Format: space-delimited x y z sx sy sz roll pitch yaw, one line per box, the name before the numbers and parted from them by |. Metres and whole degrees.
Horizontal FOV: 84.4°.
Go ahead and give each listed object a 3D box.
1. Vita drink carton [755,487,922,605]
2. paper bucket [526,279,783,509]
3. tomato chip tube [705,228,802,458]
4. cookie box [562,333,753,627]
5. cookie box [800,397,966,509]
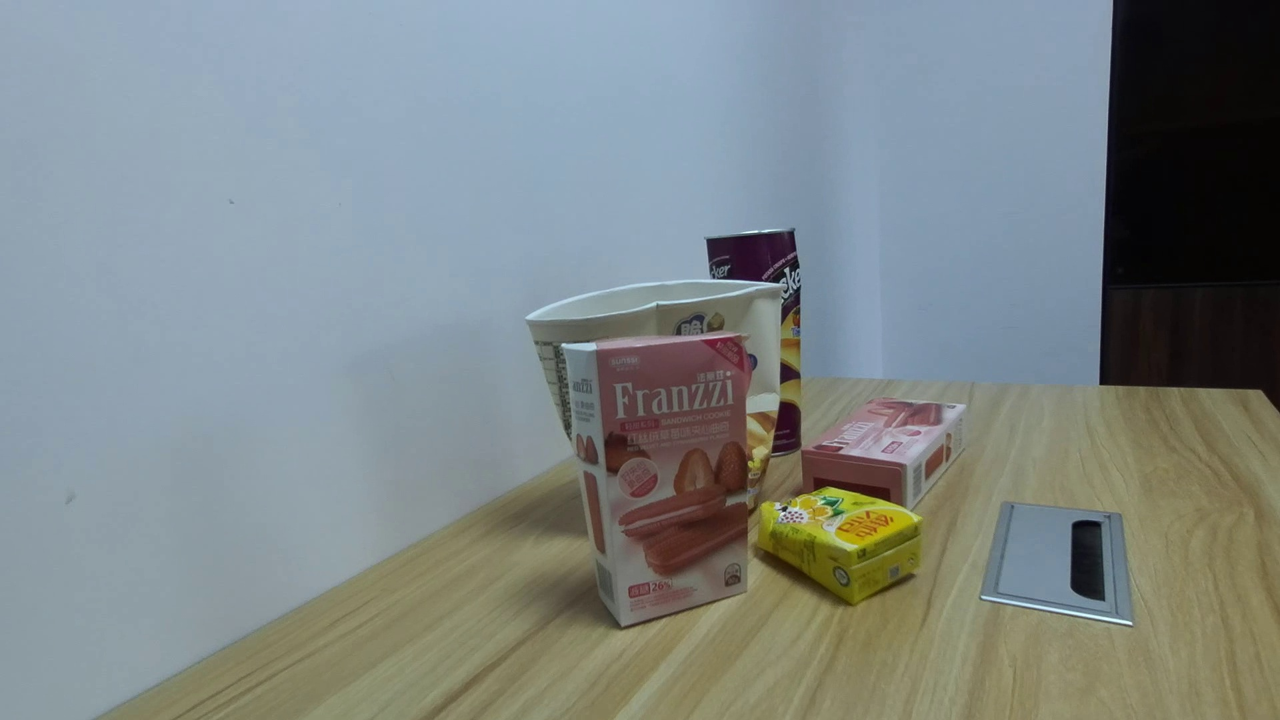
Vita drink carton | 0.142 0.128 0.510 0.087 0.042 0.108 -16 11 -20
paper bucket | 0.031 0.034 0.629 0.147 0.199 0.219 4 16 39
tomato chip tube | 0.129 -0.019 0.764 0.077 0.235 0.076 3 15 44
cookie box | 0.019 0.075 0.476 0.119 0.184 0.055 -8 13 -13
cookie box | 0.236 0.086 0.668 0.095 0.048 0.185 2 13 38
